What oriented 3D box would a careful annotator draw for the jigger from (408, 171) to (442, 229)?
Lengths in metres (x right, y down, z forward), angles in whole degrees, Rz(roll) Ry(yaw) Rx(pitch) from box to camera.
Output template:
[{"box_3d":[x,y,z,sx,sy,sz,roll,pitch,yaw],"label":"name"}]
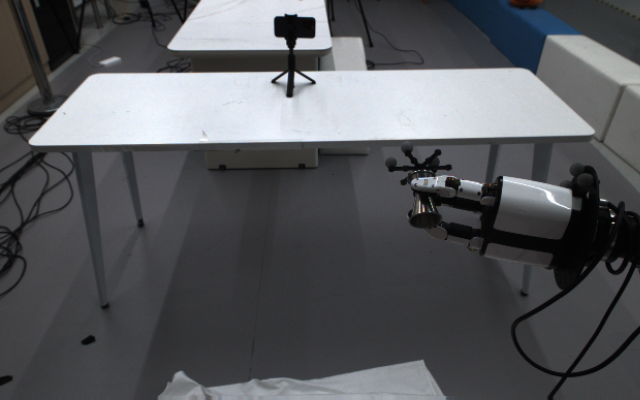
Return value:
[{"box_3d":[0.139,-0.005,0.653,0.043,0.043,0.071,2,59,-1],"label":"jigger"}]
